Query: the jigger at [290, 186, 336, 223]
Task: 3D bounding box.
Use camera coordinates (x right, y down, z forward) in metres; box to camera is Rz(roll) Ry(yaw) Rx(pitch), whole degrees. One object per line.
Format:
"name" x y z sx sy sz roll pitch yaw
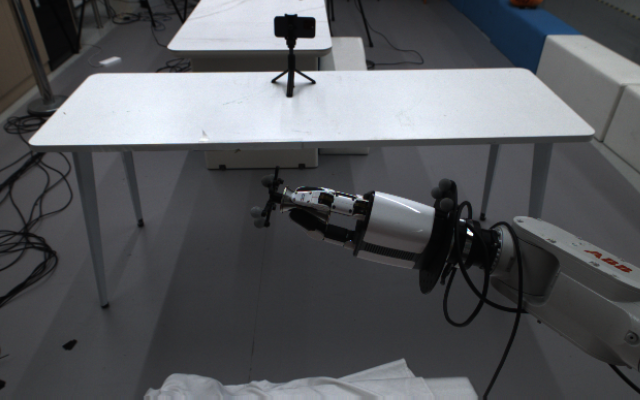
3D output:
"jigger" -0.012 0.003 0.677 0.071 0.043 0.043 13 36 4
